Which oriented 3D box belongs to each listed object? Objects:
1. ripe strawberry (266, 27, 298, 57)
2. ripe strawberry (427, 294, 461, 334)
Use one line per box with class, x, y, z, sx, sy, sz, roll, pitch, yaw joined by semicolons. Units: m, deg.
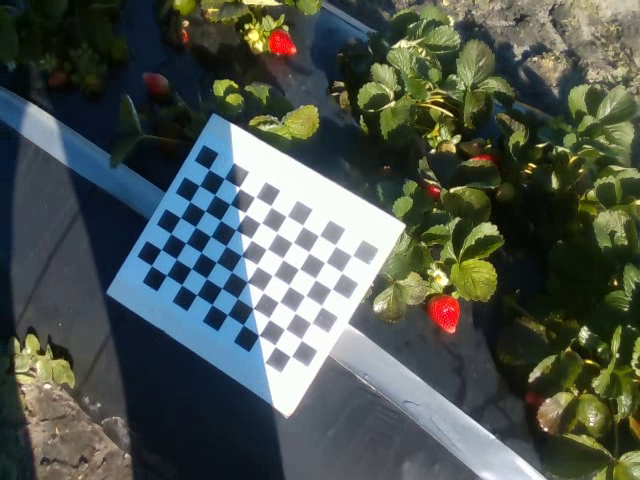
ripe strawberry;-0.060;-0.334;1.026;0.064;0.050;0.052;38;1;21
ripe strawberry;0.160;0.097;0.767;0.048;0.055;0.030;-15;-9;7
